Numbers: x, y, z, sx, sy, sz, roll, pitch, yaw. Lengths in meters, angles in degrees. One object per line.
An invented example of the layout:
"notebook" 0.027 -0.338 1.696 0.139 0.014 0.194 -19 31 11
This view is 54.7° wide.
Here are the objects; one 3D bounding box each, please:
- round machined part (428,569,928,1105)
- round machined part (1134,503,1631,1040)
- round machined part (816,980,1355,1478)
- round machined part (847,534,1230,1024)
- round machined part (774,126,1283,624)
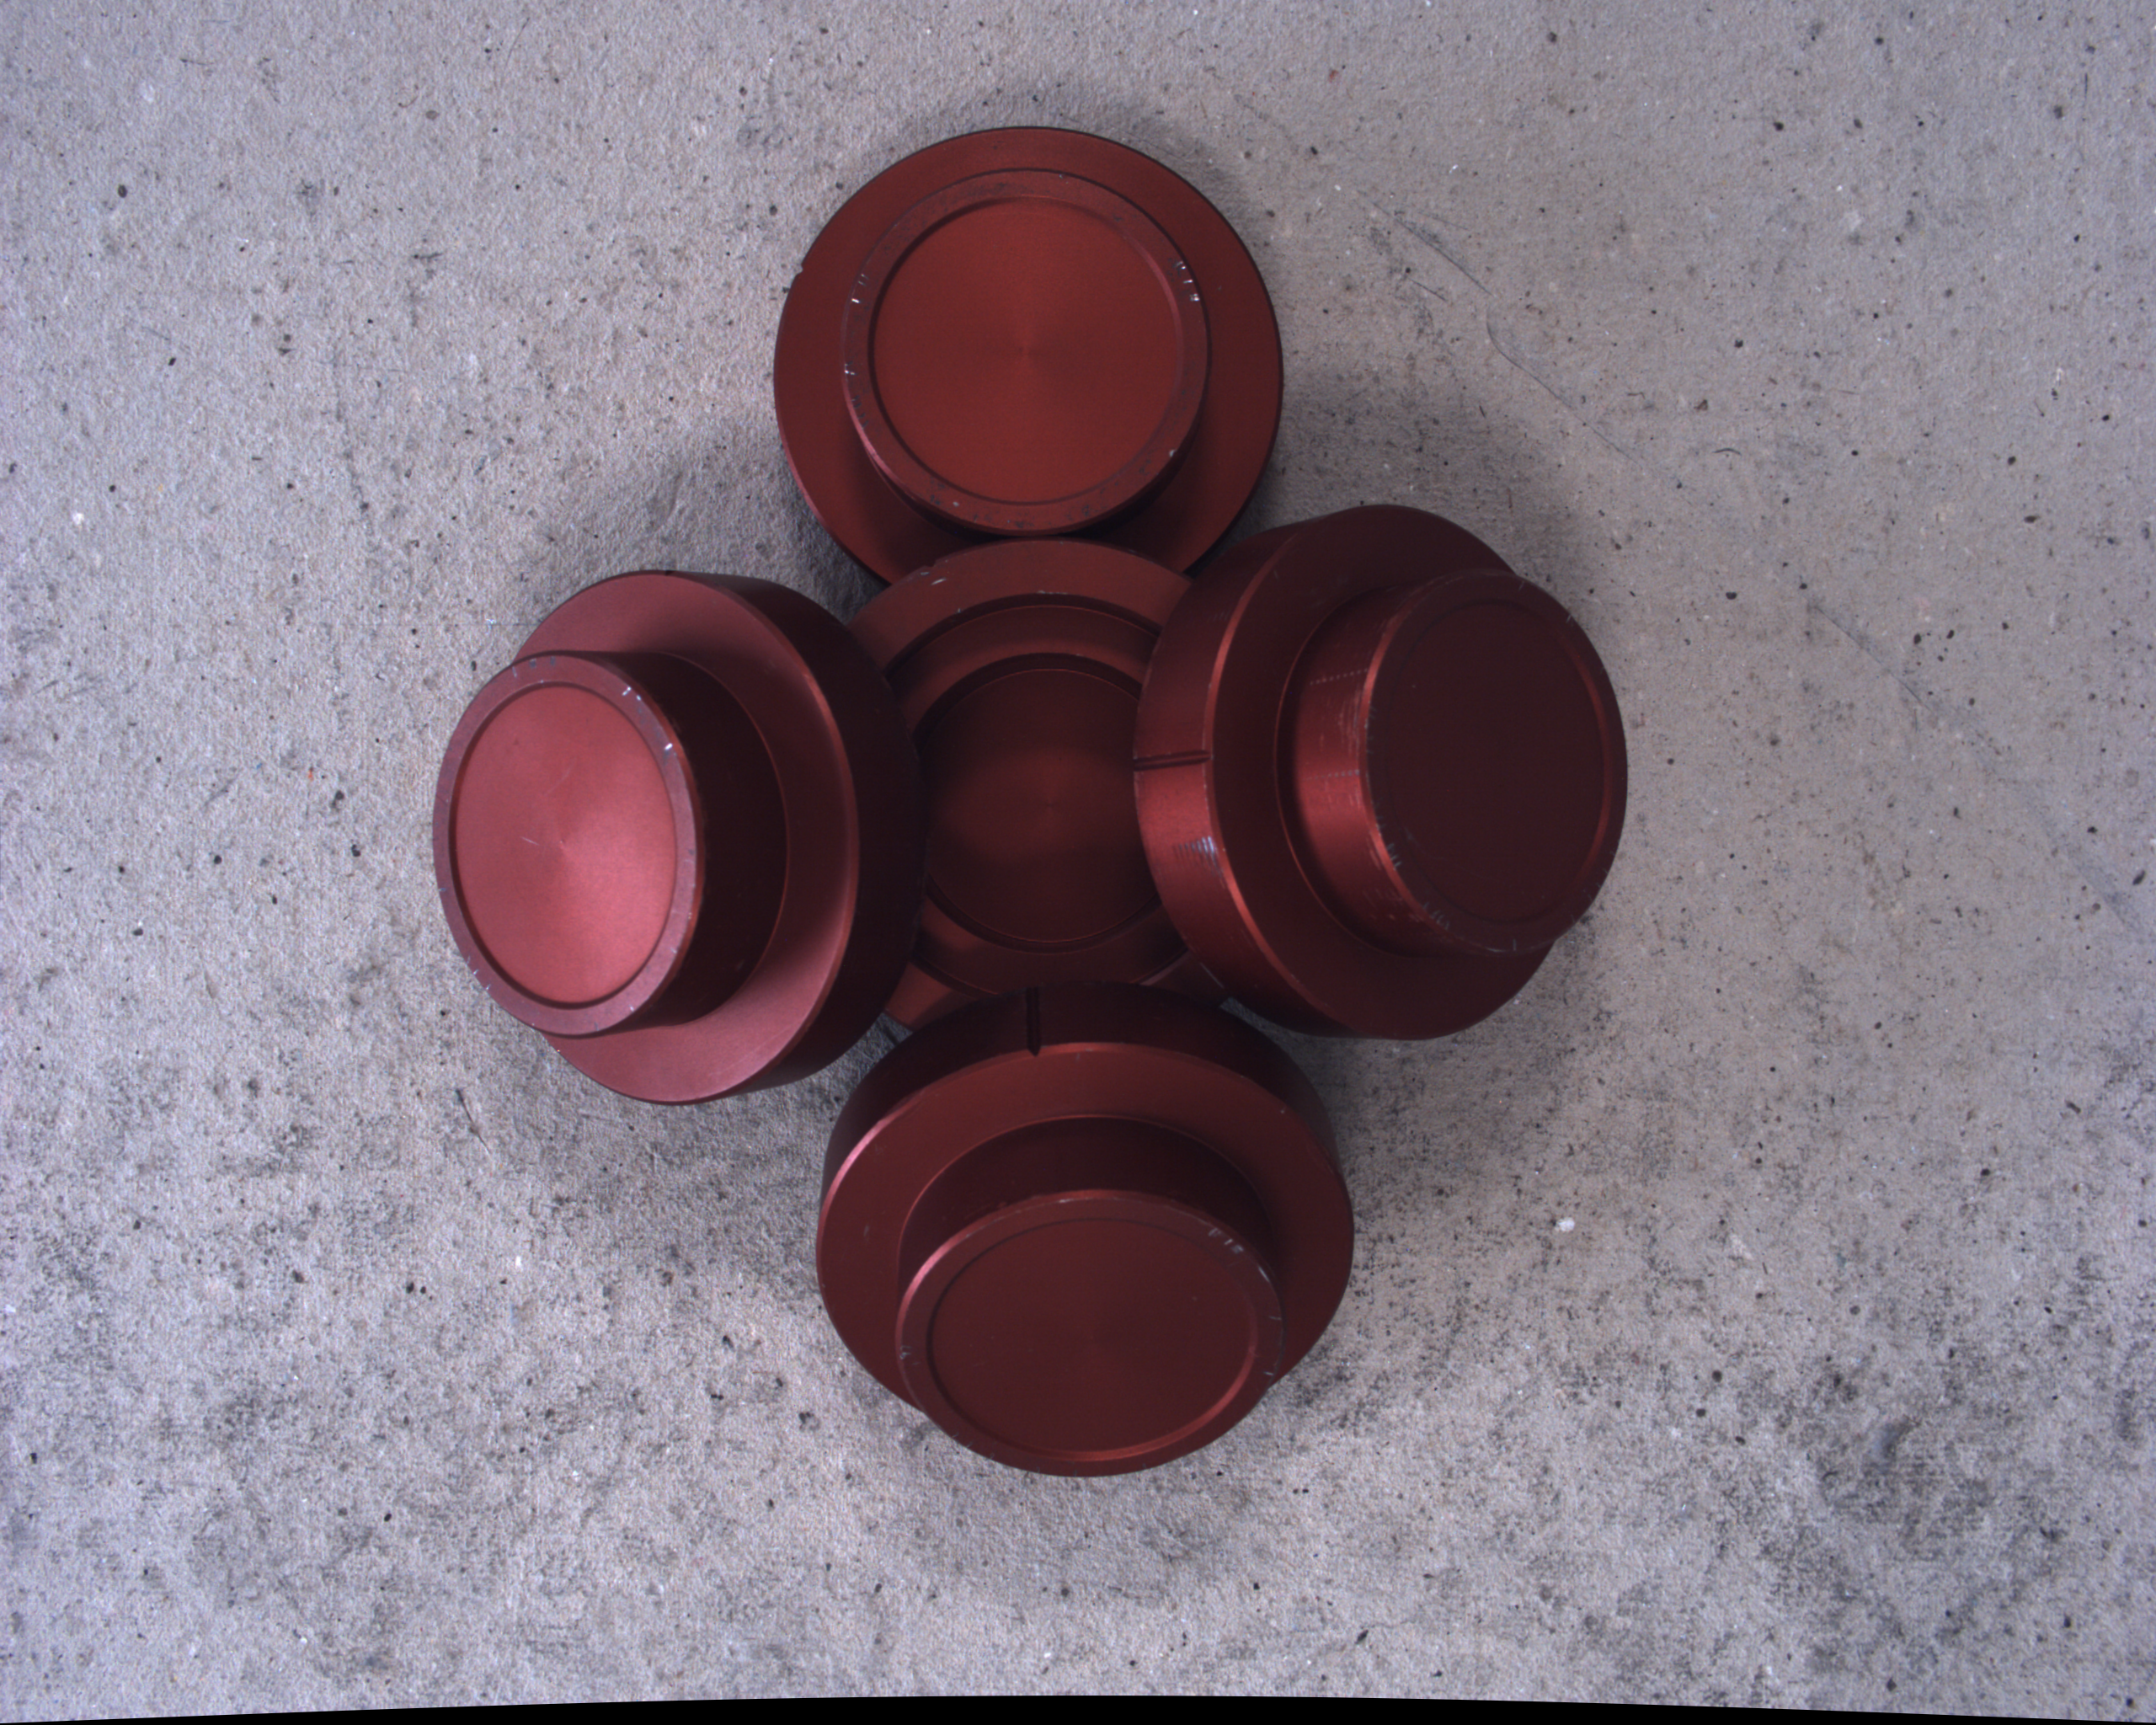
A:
"round machined part" -0.079 -0.004 0.378 0.098 0.042 0.097 3 95 33
"round machined part" 0.061 -0.017 0.377 0.099 0.042 0.097 3 85 -36
"round machined part" 0.002 0.073 0.381 0.099 0.042 0.097 -1 120 -2
"round machined part" -0.005 -0.012 0.402 0.099 0.042 0.097 0 89 2
"round machined part" -0.010 -0.094 0.402 0.099 0.042 0.097 0 89 0
